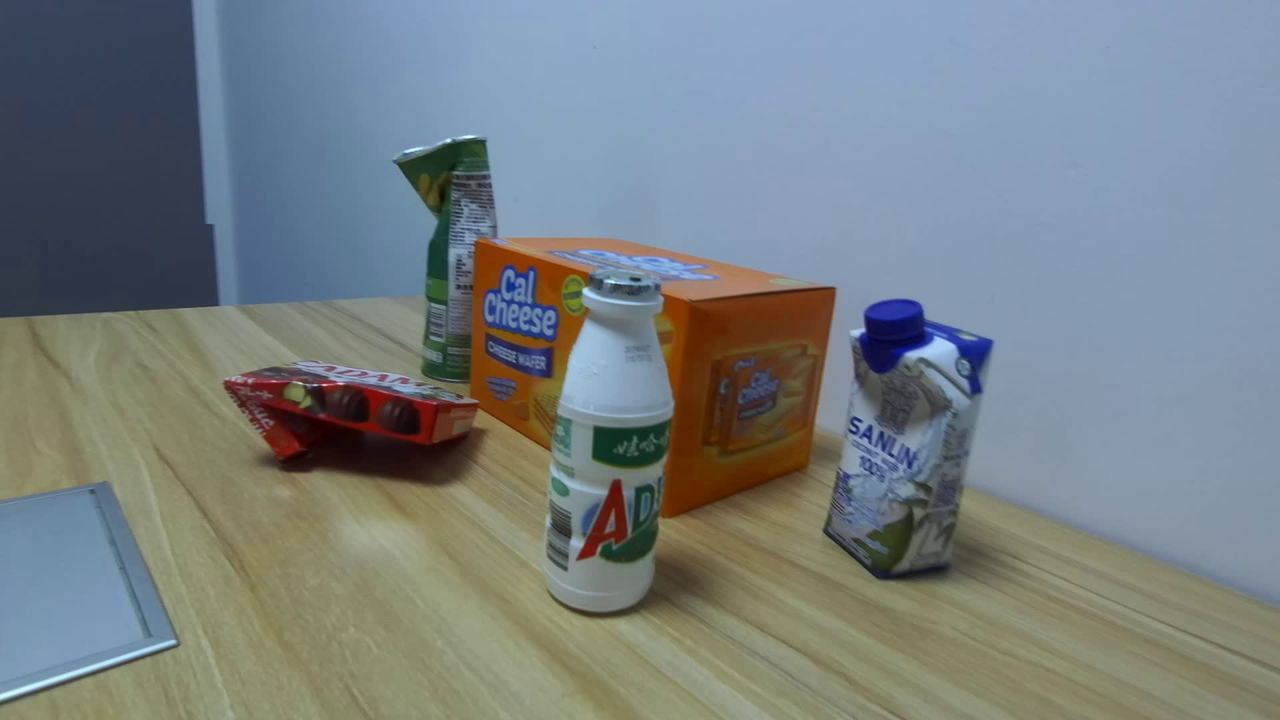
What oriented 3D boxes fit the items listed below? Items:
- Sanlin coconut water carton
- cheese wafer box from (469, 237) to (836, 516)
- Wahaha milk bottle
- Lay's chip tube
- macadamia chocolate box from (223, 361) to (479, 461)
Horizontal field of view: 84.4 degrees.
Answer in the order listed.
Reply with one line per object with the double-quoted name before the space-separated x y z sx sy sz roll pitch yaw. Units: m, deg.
"Sanlin coconut water carton" 0.138 0.039 0.373 0.058 0.142 0.077 -7 19 -21
"cheese wafer box" 0.000 -0.006 0.506 0.149 0.129 0.220 -9 22 -42
"Wahaha milk bottle" -0.015 0.045 0.328 0.053 0.136 0.053 5 9 -1
"Lay's chip tube" -0.157 -0.081 0.593 0.071 0.199 0.078 -10 18 -25
"macadamia chocolate box" -0.174 0.027 0.451 0.126 0.056 0.112 6 17 0
